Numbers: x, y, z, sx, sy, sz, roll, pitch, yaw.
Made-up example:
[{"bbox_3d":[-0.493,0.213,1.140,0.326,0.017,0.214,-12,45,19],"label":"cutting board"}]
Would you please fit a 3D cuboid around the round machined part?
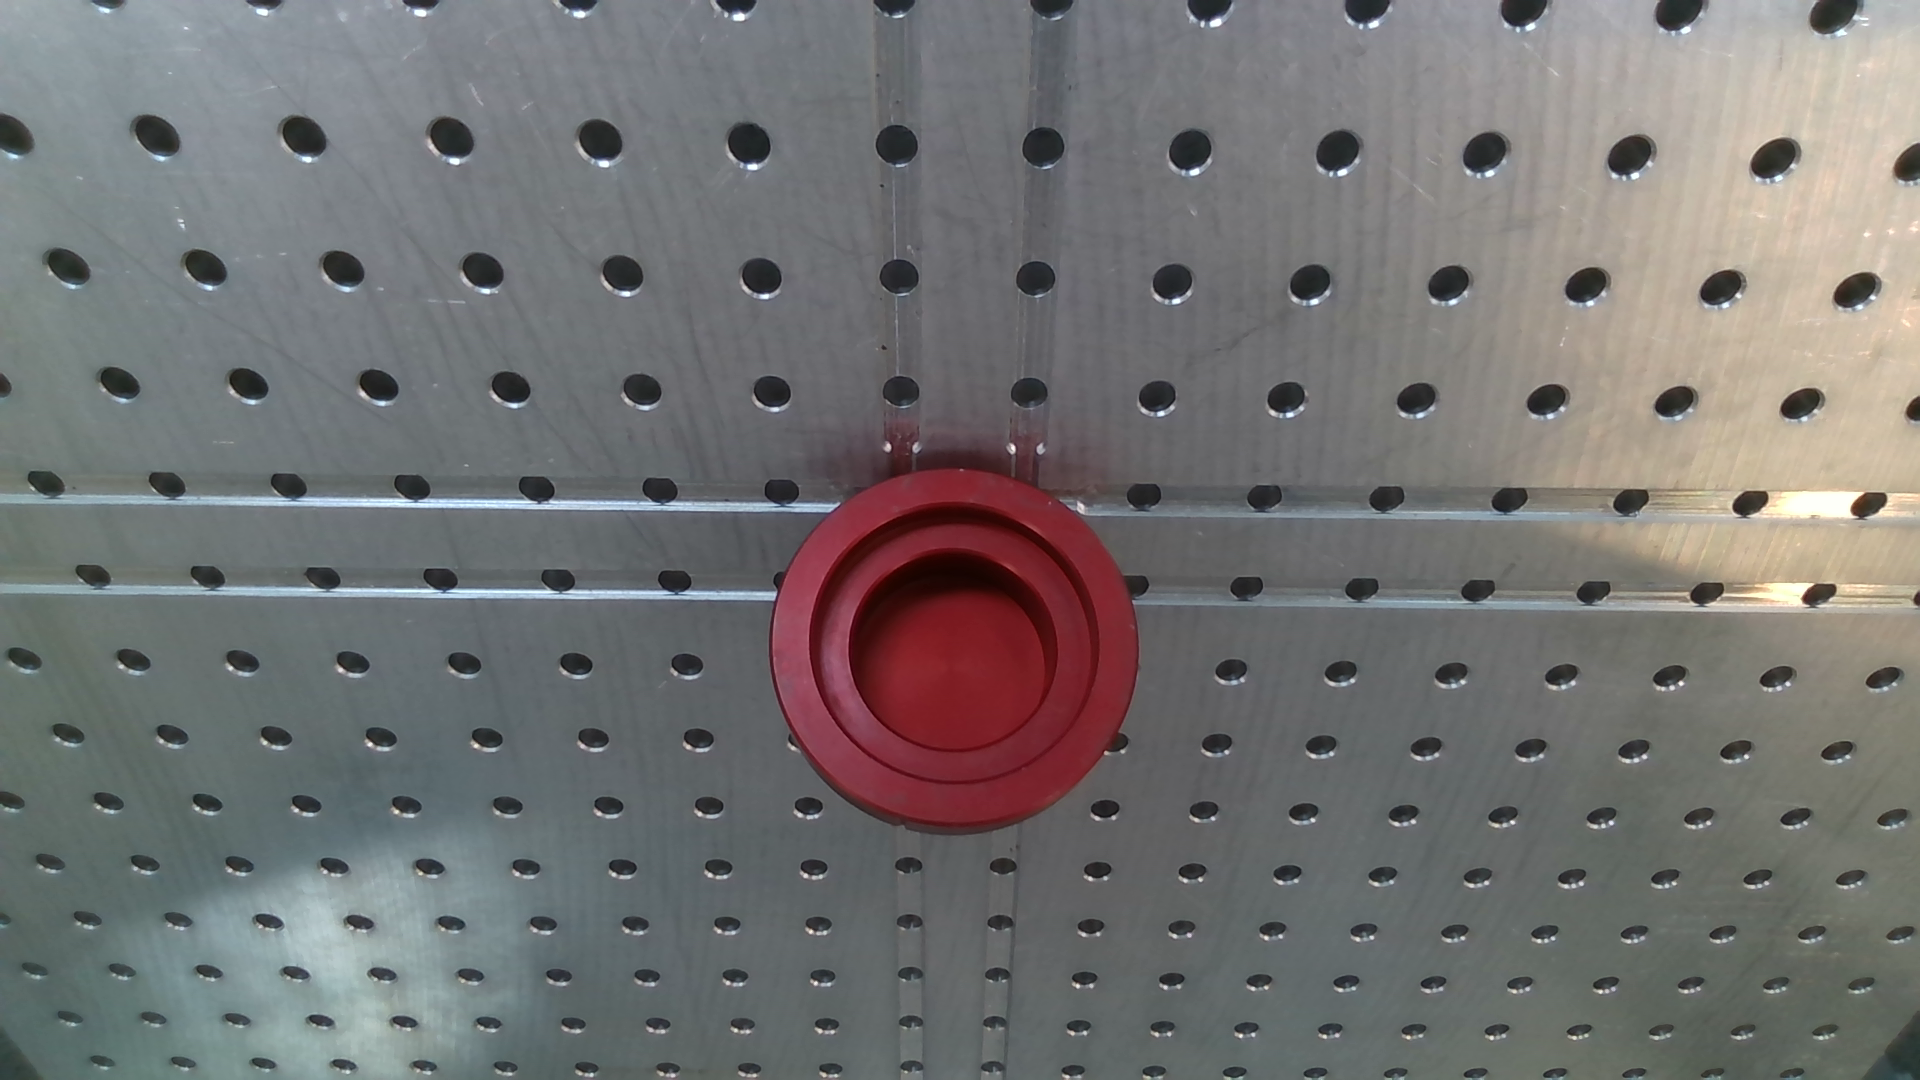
[{"bbox_3d":[-0.003,0.032,0.383,0.098,0.098,0.042,2,161,-2],"label":"round machined part"}]
